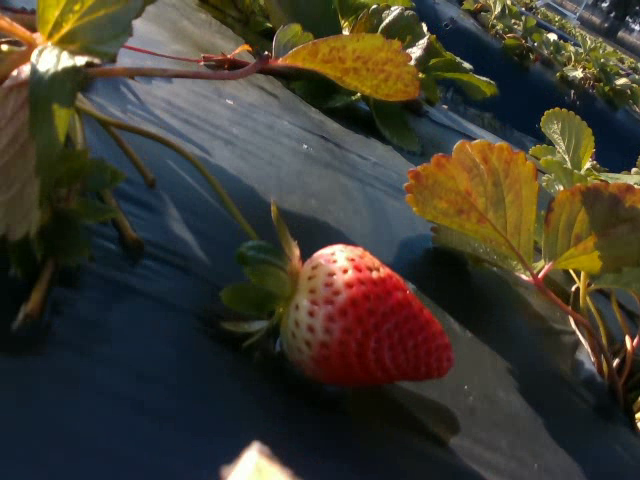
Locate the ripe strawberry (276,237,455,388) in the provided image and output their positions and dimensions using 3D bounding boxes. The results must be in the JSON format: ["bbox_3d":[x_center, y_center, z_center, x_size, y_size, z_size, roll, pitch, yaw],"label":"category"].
[{"bbox_3d":[0.016,0.022,0.167,0.063,0.045,0.044,23,-12,1],"label":"ripe strawberry"}]
